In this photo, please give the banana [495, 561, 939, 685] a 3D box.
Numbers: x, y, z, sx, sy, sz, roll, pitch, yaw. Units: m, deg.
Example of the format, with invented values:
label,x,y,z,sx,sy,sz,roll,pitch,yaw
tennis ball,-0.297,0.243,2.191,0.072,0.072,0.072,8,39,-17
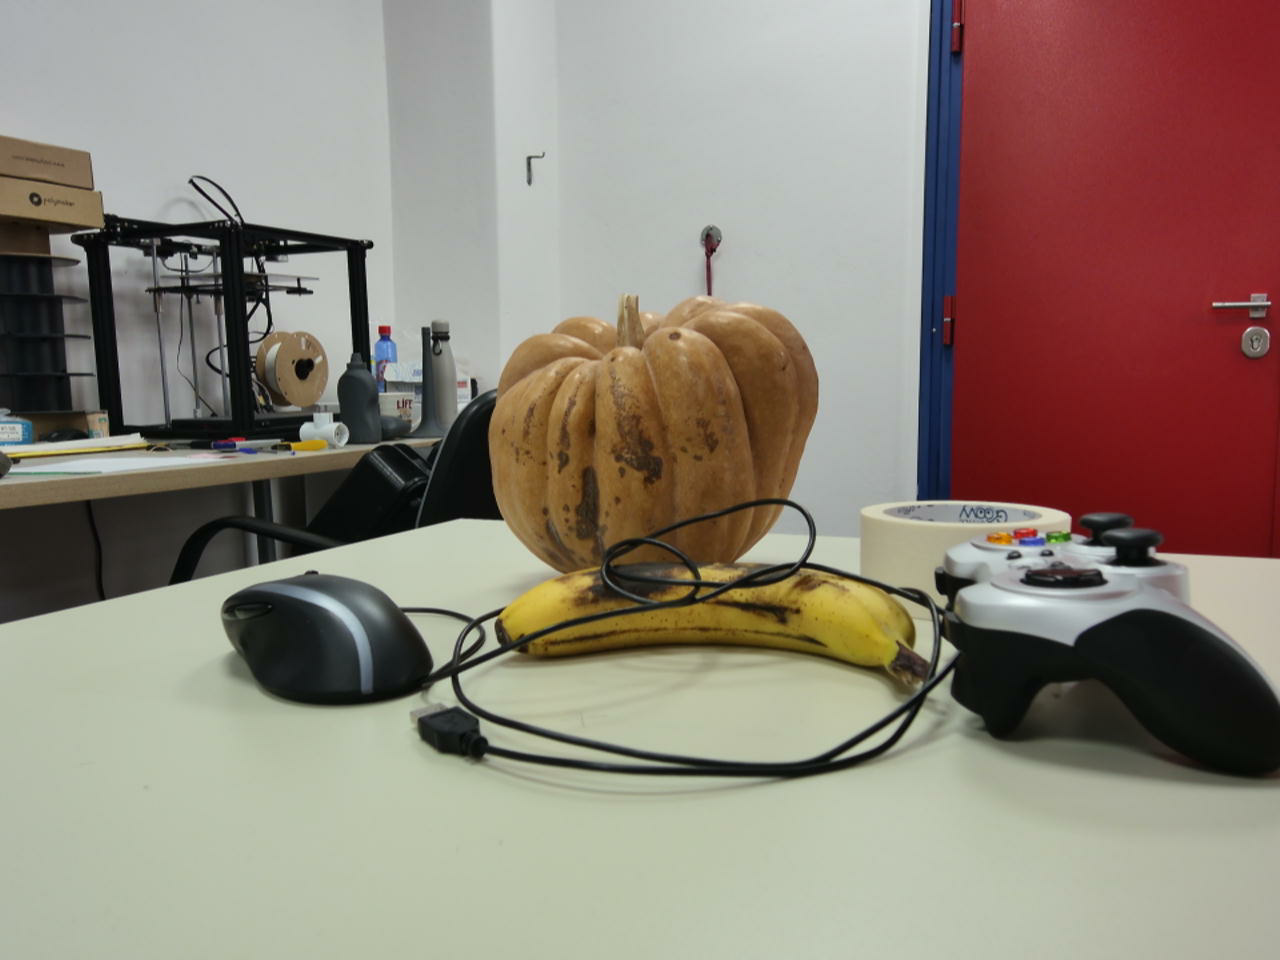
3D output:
label,x,y,z,sx,sy,sz,roll,pitch,yaw
banana,0.038,0.060,0.438,0.187,0.039,0.094,2,4,23
